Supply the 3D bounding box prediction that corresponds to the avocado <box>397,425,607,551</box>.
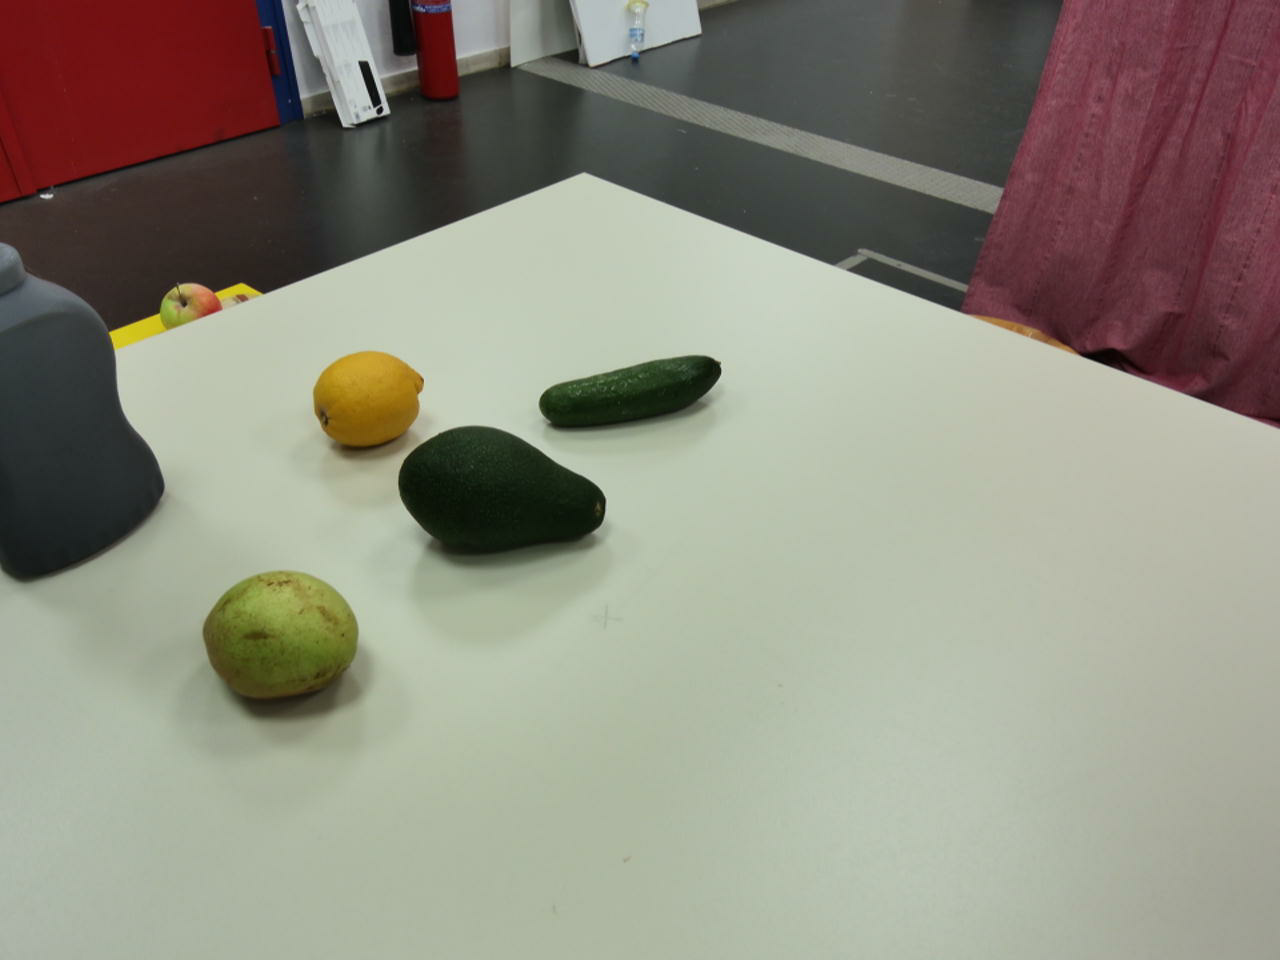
[{"bbox_3d":[-0.078,0.007,0.562,0.110,0.071,0.072,13,38,14],"label":"avocado"}]
